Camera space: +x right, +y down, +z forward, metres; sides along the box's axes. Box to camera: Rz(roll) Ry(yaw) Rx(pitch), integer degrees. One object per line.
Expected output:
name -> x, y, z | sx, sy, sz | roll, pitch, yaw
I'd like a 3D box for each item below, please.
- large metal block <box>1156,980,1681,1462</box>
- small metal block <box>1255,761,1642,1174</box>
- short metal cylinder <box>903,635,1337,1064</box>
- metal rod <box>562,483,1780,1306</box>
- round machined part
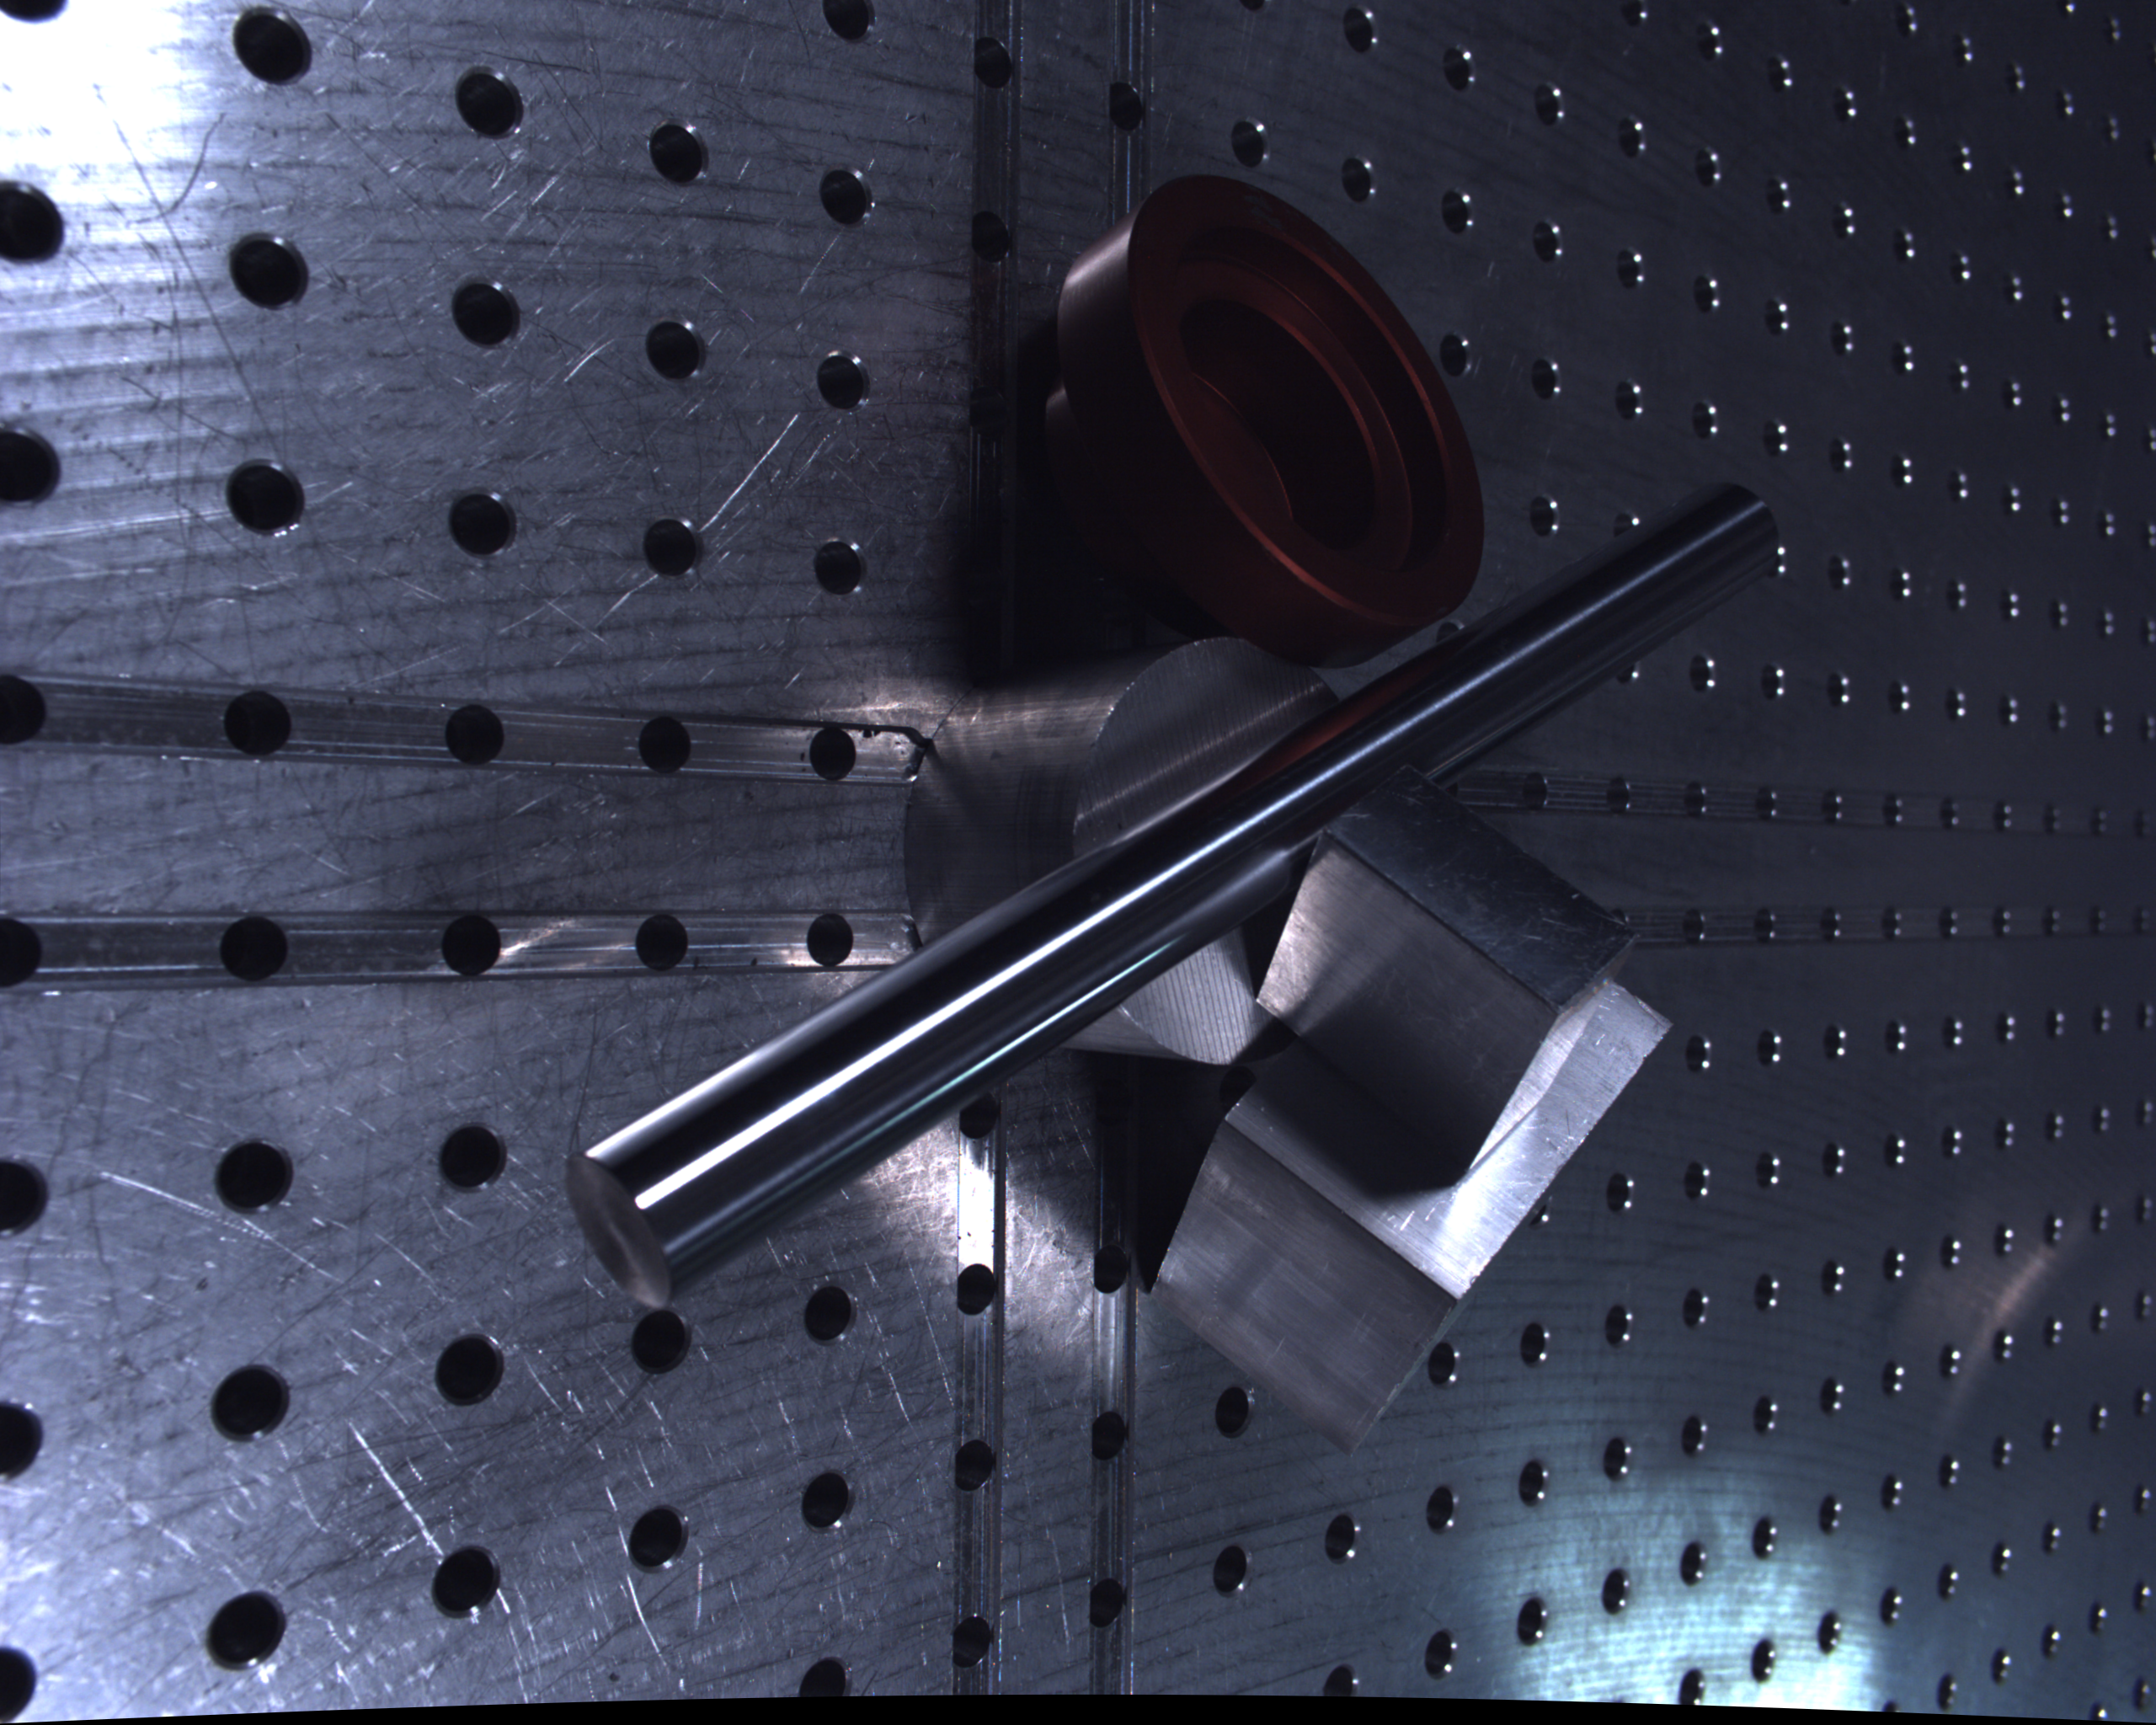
large metal block -> 0.067, 0.062, 0.421 | 0.080, 0.050, 0.080 | -43, 161, -32
small metal block -> 0.064, 0.019, 0.369 | 0.025, 0.050, 0.050 | -37, 155, -34
short metal cylinder -> 0.014, -0.003, 0.406 | 0.081, 0.050, 0.079 | 0, 90, -40
metal rod -> 0.041, -0.011, 0.380 | 0.302, 0.025, 0.025 | -31, 109, -36
round machined part -> 0.033, -0.082, 0.412 | 0.099, 0.042, 0.098 | 25, 52, -35
